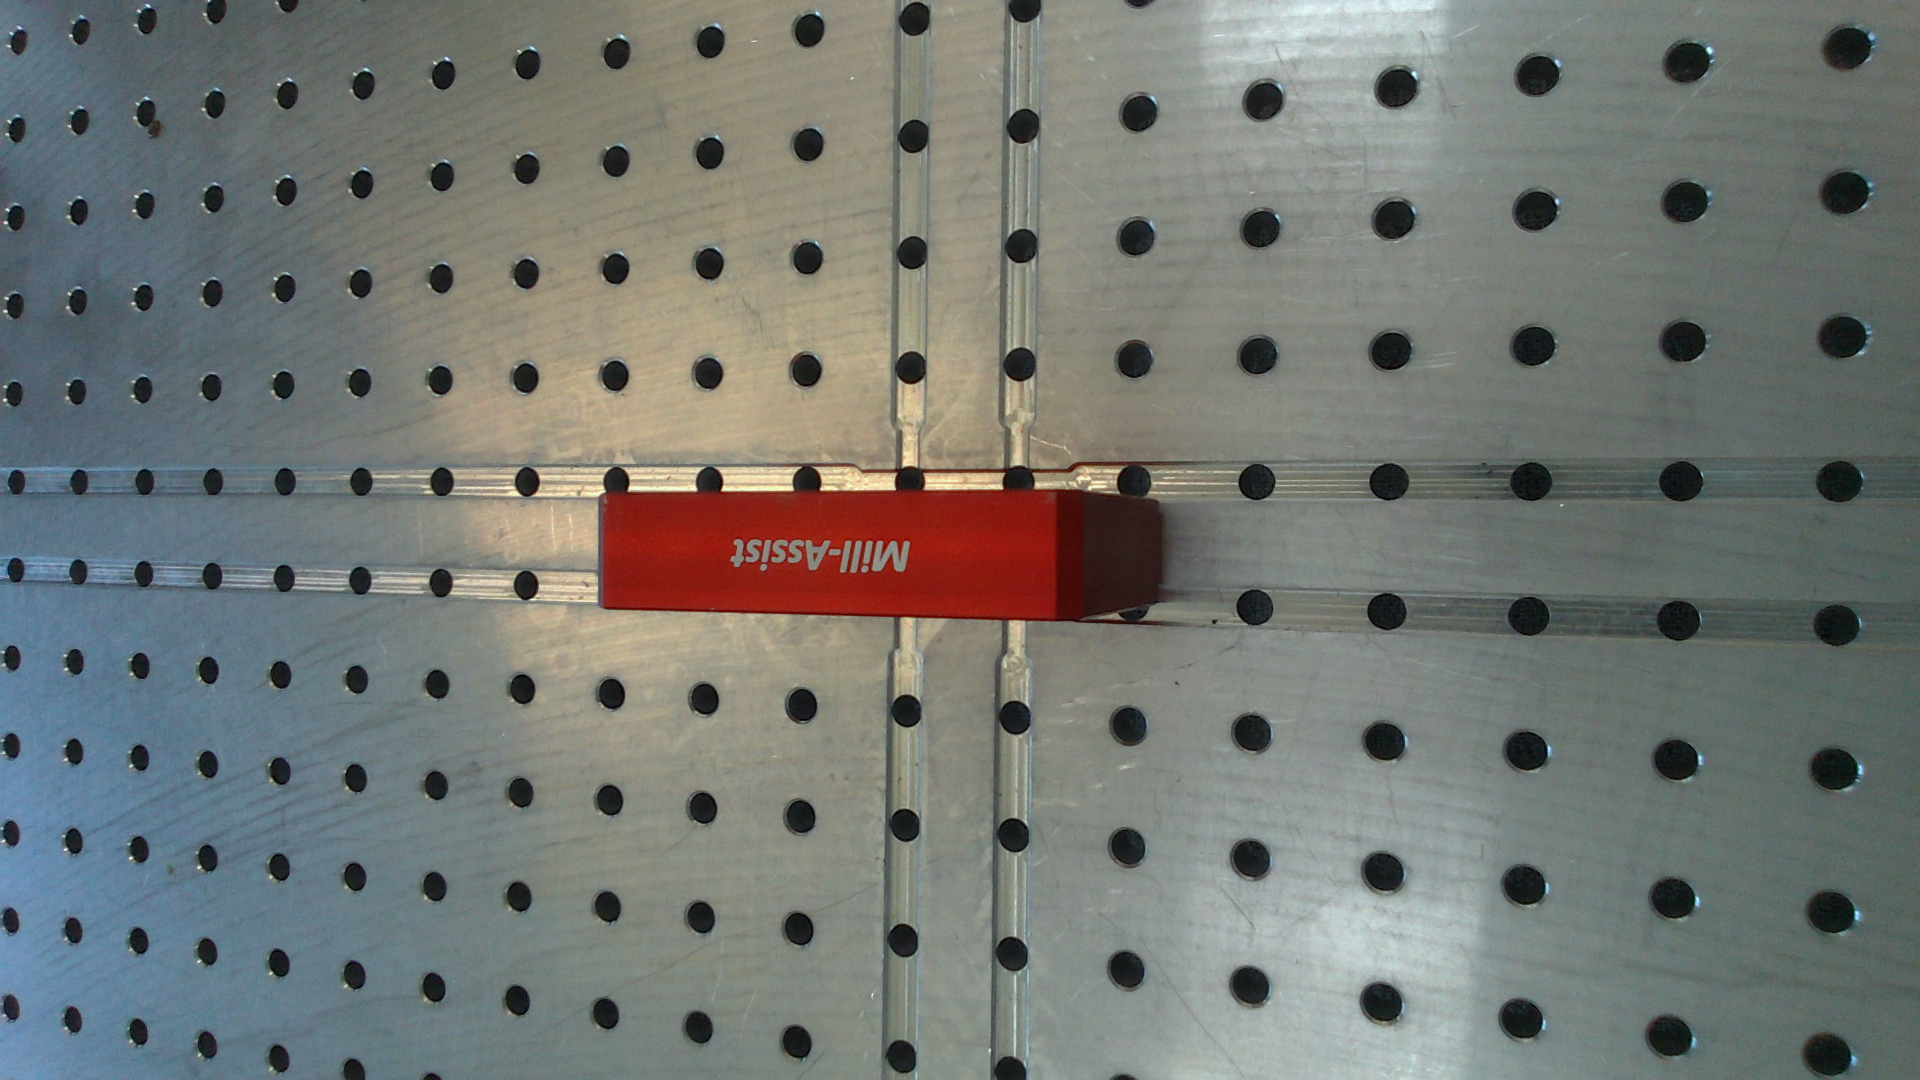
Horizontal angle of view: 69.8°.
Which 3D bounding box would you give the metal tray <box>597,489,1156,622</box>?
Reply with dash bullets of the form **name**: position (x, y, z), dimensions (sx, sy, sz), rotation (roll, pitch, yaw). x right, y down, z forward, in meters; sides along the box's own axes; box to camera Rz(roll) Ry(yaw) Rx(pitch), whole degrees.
- **metal tray**: position (-0.019, 0.003, 0.370), dimensions (0.130, 0.090, 0.030), rotation (0, 90, 20)
